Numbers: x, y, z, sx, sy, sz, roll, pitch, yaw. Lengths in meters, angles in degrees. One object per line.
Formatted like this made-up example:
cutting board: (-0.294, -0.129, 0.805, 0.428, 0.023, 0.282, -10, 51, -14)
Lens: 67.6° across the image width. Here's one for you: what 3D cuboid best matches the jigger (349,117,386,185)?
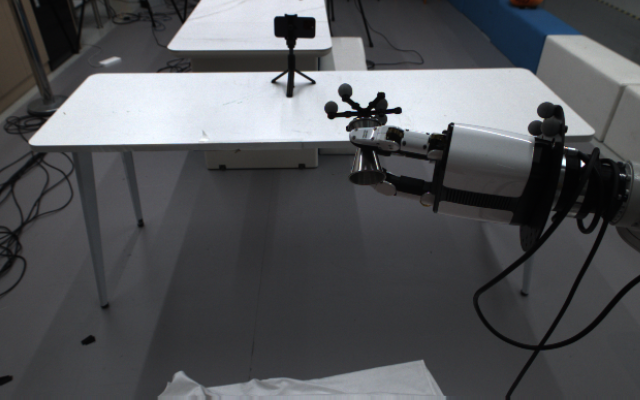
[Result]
jigger: (0.054, -0.058, 0.563, 0.043, 0.043, 0.071, 0, 70, -2)
